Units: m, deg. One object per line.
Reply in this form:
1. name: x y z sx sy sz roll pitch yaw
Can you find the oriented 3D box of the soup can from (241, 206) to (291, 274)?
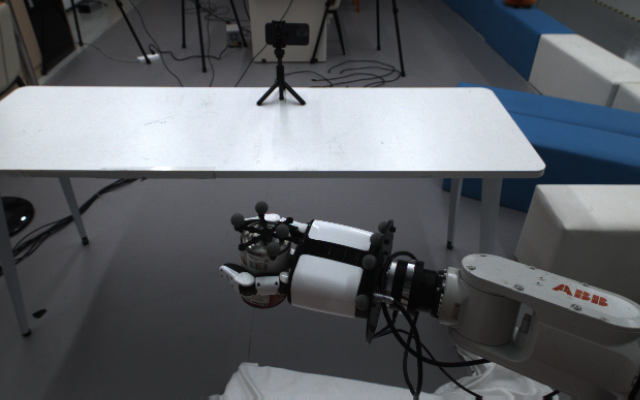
1. soup can: -0.072 0.088 0.650 0.067 0.101 0.067 5 37 -3
